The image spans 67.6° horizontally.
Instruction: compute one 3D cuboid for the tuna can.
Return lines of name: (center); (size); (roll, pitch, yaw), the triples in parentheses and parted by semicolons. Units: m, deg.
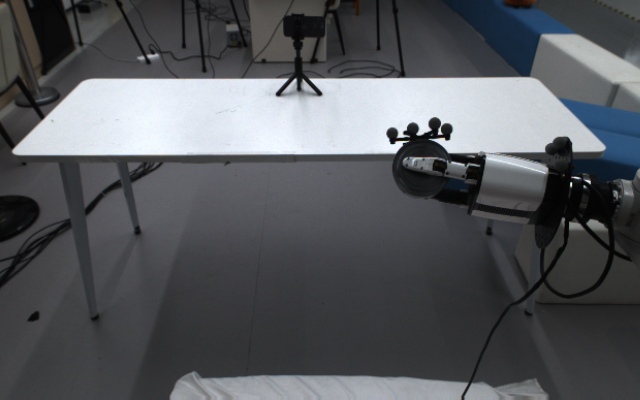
tuna can: (0.151, -0.046, 0.717); (0.085, 0.085, 0.034); (10, -6, 11)
